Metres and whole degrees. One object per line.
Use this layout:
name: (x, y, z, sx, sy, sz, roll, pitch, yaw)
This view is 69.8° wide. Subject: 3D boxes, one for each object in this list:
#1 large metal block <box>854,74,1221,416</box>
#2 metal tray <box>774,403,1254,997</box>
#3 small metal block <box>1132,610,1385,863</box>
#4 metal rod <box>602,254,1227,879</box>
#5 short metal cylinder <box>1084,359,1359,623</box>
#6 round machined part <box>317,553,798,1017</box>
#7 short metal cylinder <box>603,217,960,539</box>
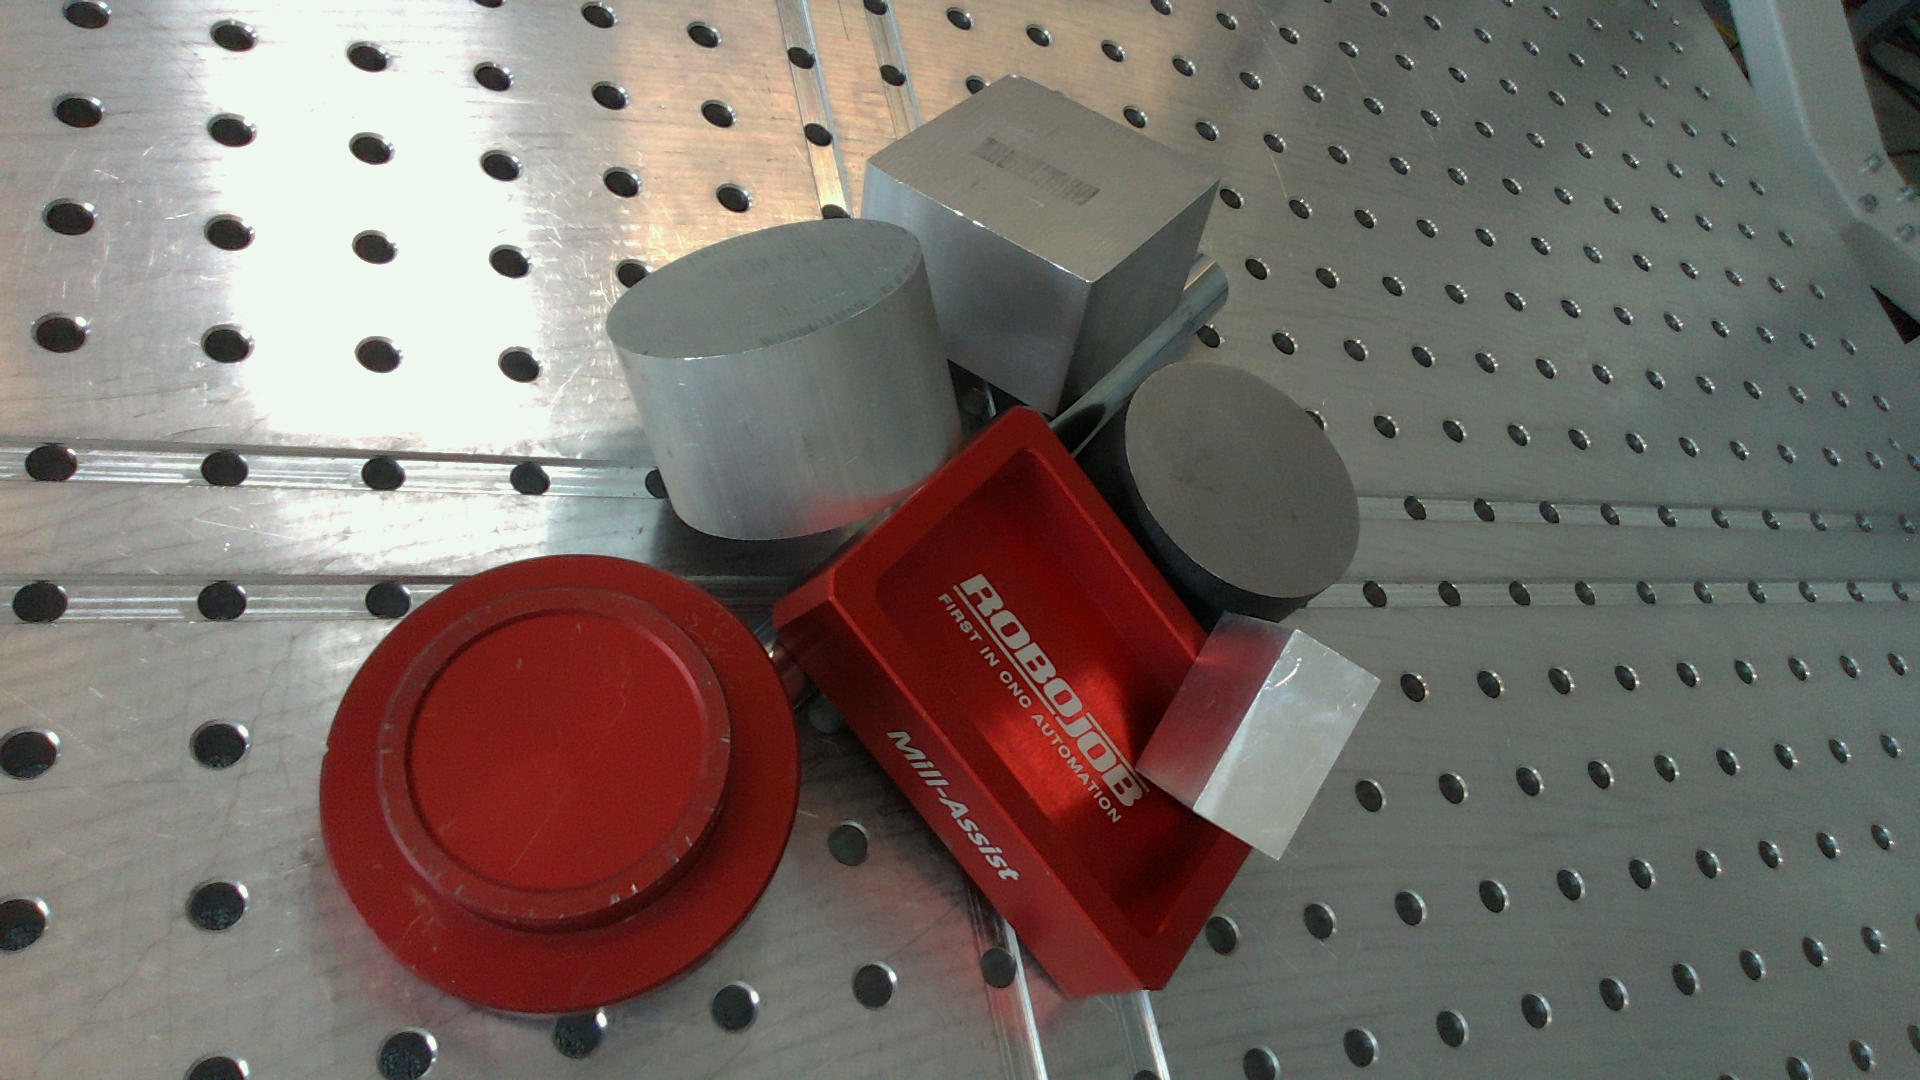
large metal block: (0.022, -0.095, 0.431, 0.080, 0.050, 0.080, 32, 48, 18)
metal tray: (0.025, 0.040, 0.359, 0.130, 0.030, 0.090, 52, 51, -7)
small metal block: (0.074, 0.048, 0.349, 0.025, 0.050, 0.050, 31, 87, -10)
metal rod: (-0.001, -0.010, 0.401, 0.025, 0.025, 0.301, 44, 52, 3)
short metal cylinder: (0.073, -0.008, 0.420, 0.080, 0.050, 0.080, 14, 56, -21)
round machined part: (-0.083, 0.048, 0.291, 0.098, 0.042, 0.098, 4, 68, -10)
short metal cylinder: (-0.044, -0.044, 0.353, 0.080, 0.050, 0.080, -9, 33, 6)
